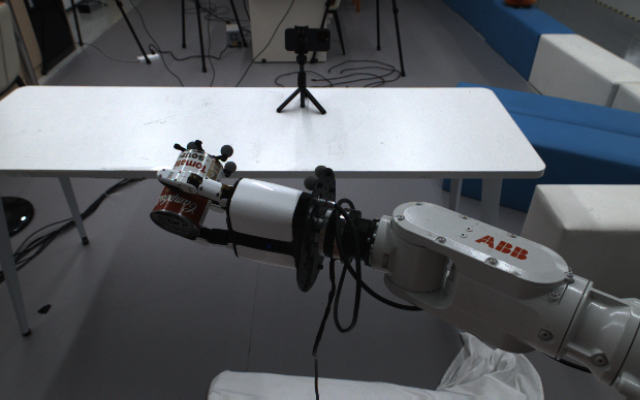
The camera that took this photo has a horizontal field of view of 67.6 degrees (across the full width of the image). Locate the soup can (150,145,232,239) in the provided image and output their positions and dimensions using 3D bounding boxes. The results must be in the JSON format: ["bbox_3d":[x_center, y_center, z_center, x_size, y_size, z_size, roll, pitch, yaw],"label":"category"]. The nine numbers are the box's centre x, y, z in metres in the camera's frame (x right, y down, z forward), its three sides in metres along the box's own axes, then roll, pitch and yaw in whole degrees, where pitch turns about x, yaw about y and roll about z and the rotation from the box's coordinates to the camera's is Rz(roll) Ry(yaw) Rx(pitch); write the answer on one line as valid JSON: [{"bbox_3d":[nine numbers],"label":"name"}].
[{"bbox_3d":[-0.179,-0.008,0.660,0.067,0.067,0.101,9,60,10],"label":"soup can"}]
